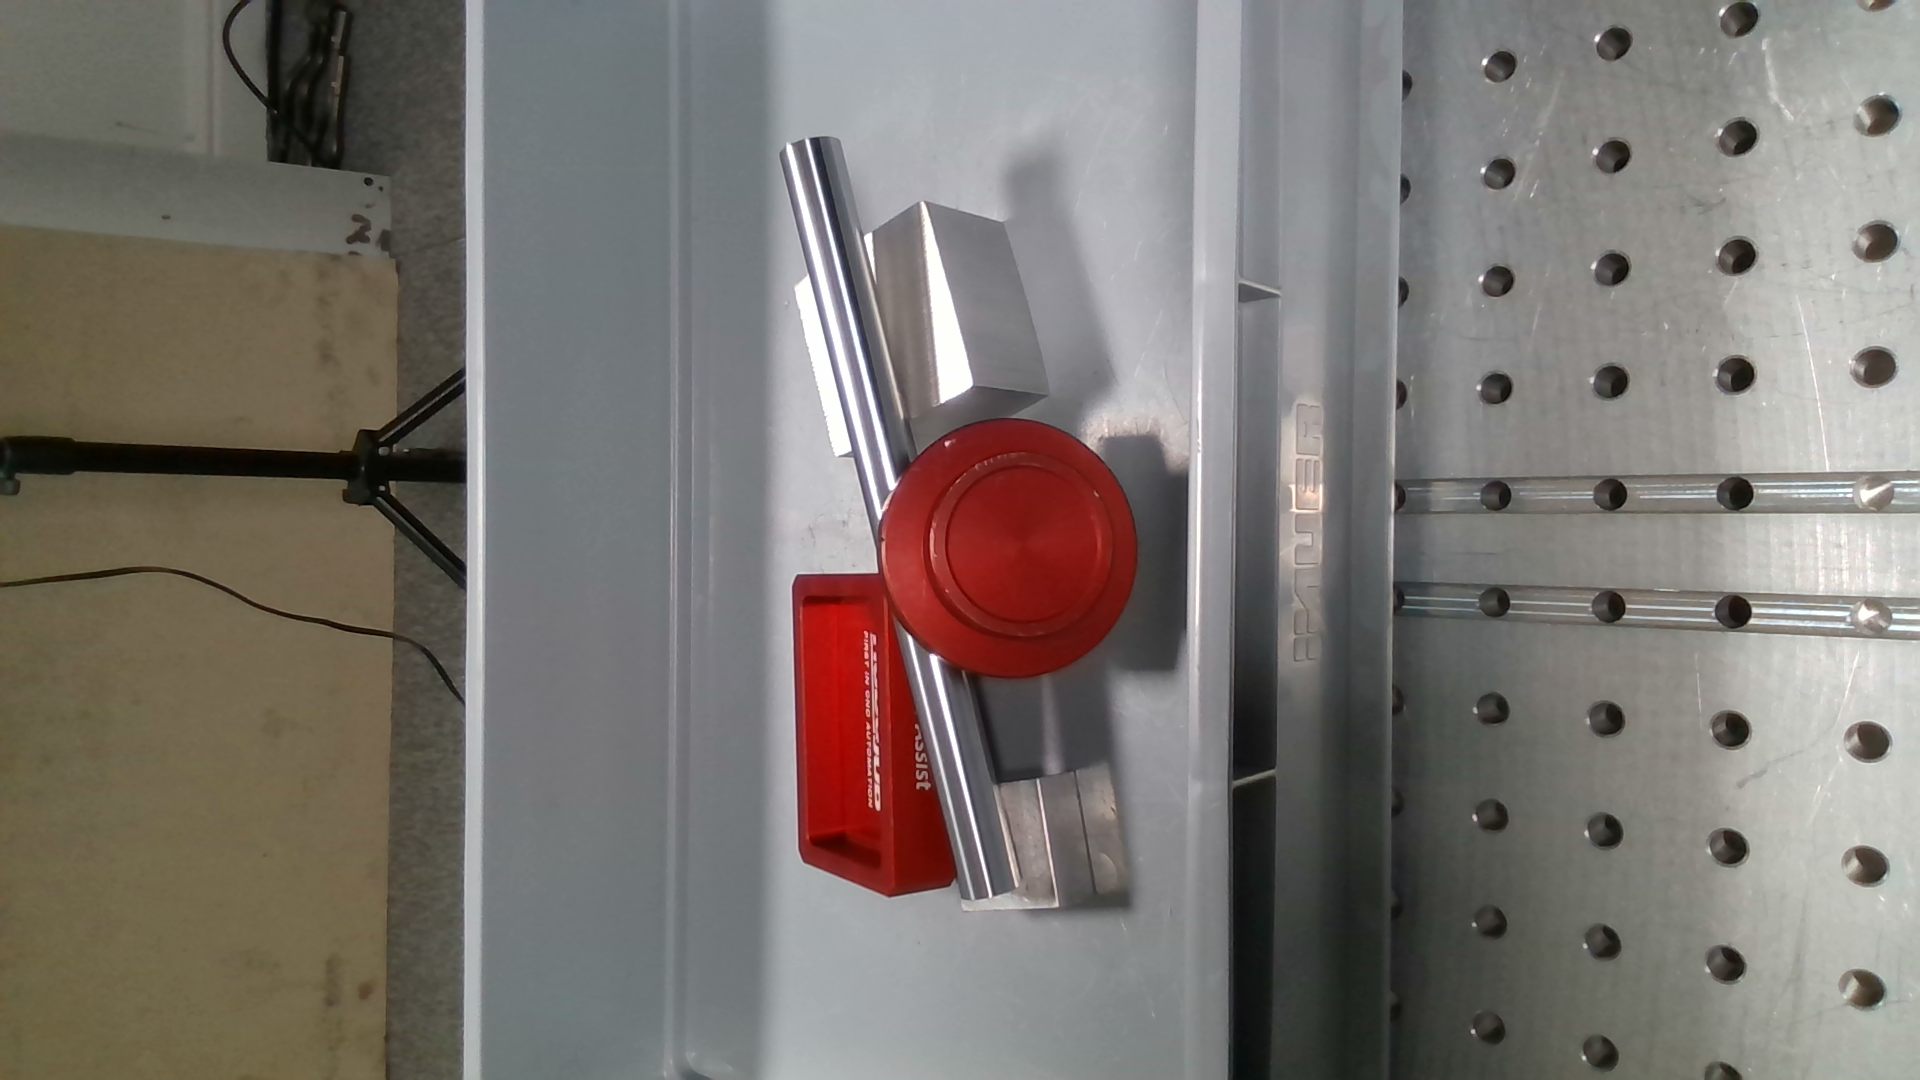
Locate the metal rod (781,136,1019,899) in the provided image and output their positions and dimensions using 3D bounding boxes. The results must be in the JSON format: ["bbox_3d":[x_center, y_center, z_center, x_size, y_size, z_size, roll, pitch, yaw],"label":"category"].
[{"bbox_3d":[-0.024,-0.009,0.542,0.025,0.025,0.300,-14,88,39],"label":"metal rod"}]

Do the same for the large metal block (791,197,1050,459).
[{"bbox_3d":[-0.018,-0.084,0.577,0.080,0.050,0.080,-23,76,38],"label":"large metal block"}]

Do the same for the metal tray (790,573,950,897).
[{"bbox_3d":[-0.040,0.079,0.594,0.090,0.030,0.130,-2,89,60],"label":"metal tray"}]

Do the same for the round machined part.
[{"bbox_3d":[0.019,0.003,0.514,0.042,0.098,0.098,161,105,-80],"label":"round machined part"}]

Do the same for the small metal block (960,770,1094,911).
[{"bbox_3d":[0.023,0.123,0.562,0.050,0.025,0.050,-15,81,39],"label":"small metal block"}]
